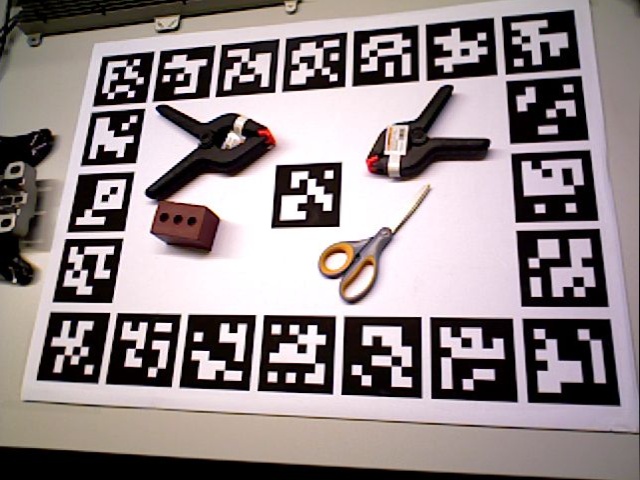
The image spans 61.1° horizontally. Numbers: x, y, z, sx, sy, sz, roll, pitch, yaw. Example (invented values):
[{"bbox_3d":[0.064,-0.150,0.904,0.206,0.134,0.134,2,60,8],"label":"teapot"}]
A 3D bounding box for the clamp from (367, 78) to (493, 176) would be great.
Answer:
[{"bbox_3d":[0.140,-0.141,0.760,0.165,0.036,0.121,-27,77,4],"label":"clamp"}]

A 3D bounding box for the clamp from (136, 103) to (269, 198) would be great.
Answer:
[{"bbox_3d":[-0.179,-0.148,0.829,0.203,0.037,0.164,-4,70,11],"label":"clamp"}]

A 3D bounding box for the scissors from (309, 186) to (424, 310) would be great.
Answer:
[{"bbox_3d":[0.072,-0.001,0.736,0.087,0.016,0.202,41,84,12],"label":"scissors"}]

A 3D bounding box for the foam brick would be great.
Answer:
[{"bbox_3d":[-0.204,-0.019,0.791,0.078,0.051,0.052,6,75,19],"label":"foam brick"}]
